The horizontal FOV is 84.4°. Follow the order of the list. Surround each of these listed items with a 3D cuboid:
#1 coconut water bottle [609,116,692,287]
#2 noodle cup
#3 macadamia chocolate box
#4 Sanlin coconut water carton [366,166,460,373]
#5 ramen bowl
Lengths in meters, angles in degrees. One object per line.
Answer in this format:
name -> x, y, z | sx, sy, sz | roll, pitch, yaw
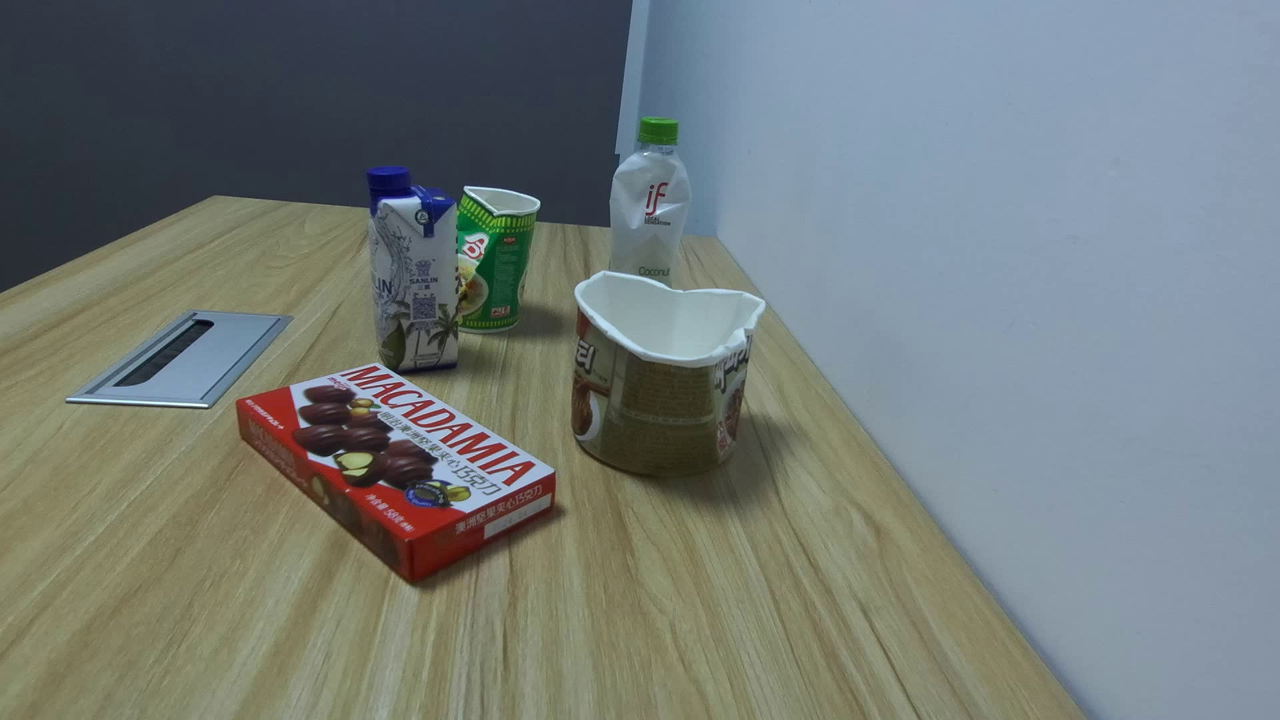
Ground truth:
coconut water bottle -> 0.005, -0.105, 0.594 | 0.067, 0.187, 0.067 | 6, 21, -2
noodle cup -> -0.133, -0.086, 0.611 | 0.075, 0.122, 0.082 | 13, 15, -7
macadamia chocolate box -> -0.142, 0.053, 0.405 | 0.177, 0.027, 0.096 | 24, 28, 33
Sanlin coconut water carton -> -0.166, -0.067, 0.522 | 0.061, 0.144, 0.060 | -7, 26, -31
ramen bowl -> 0.012, 0.010, 0.447 | 0.113, 0.097, 0.134 | 10, 24, 7
